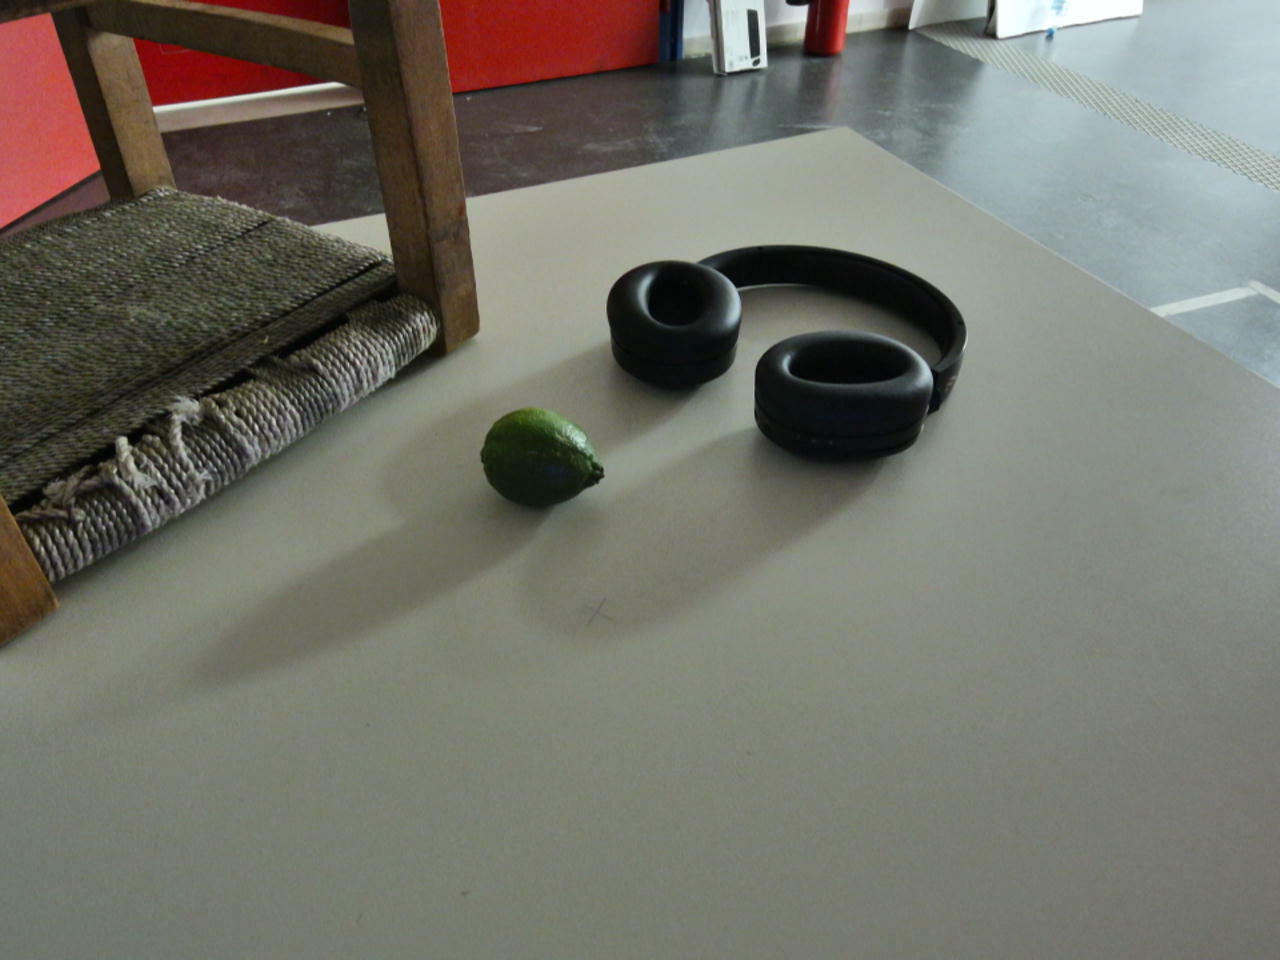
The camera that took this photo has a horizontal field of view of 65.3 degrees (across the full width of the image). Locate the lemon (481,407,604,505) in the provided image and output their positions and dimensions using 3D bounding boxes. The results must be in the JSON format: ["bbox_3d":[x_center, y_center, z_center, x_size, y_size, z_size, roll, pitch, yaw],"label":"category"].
[{"bbox_3d":[-0.053,-0.013,0.520,0.057,0.051,0.054,-19,42,-23],"label":"lemon"}]
